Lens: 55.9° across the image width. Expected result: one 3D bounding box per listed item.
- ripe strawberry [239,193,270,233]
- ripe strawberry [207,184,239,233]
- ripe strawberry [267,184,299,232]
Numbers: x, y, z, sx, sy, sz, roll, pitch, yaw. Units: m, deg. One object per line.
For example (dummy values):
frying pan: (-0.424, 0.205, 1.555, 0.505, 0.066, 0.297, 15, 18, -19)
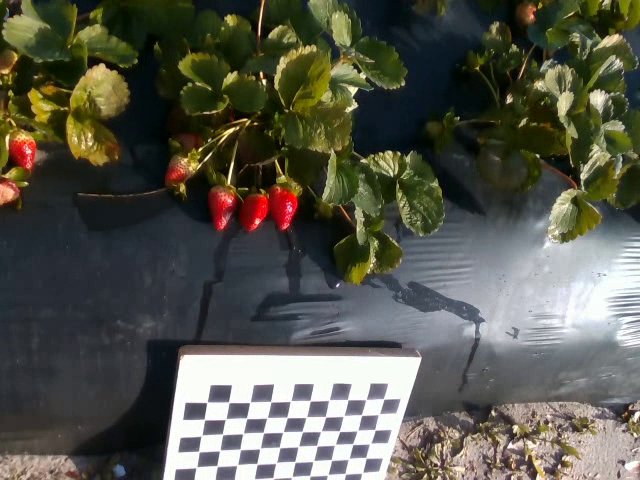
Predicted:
ripe strawberry: (-0.062, -0.025, 0.565, 0.031, 0.039, 0.037, 14, -45, -19)
ripe strawberry: (-0.091, -0.029, 0.564, 0.032, 0.046, 0.023, 4, 7, -15)
ripe strawberry: (-0.036, -0.025, 0.576, 0.035, 0.041, 0.034, 0, -28, -14)
